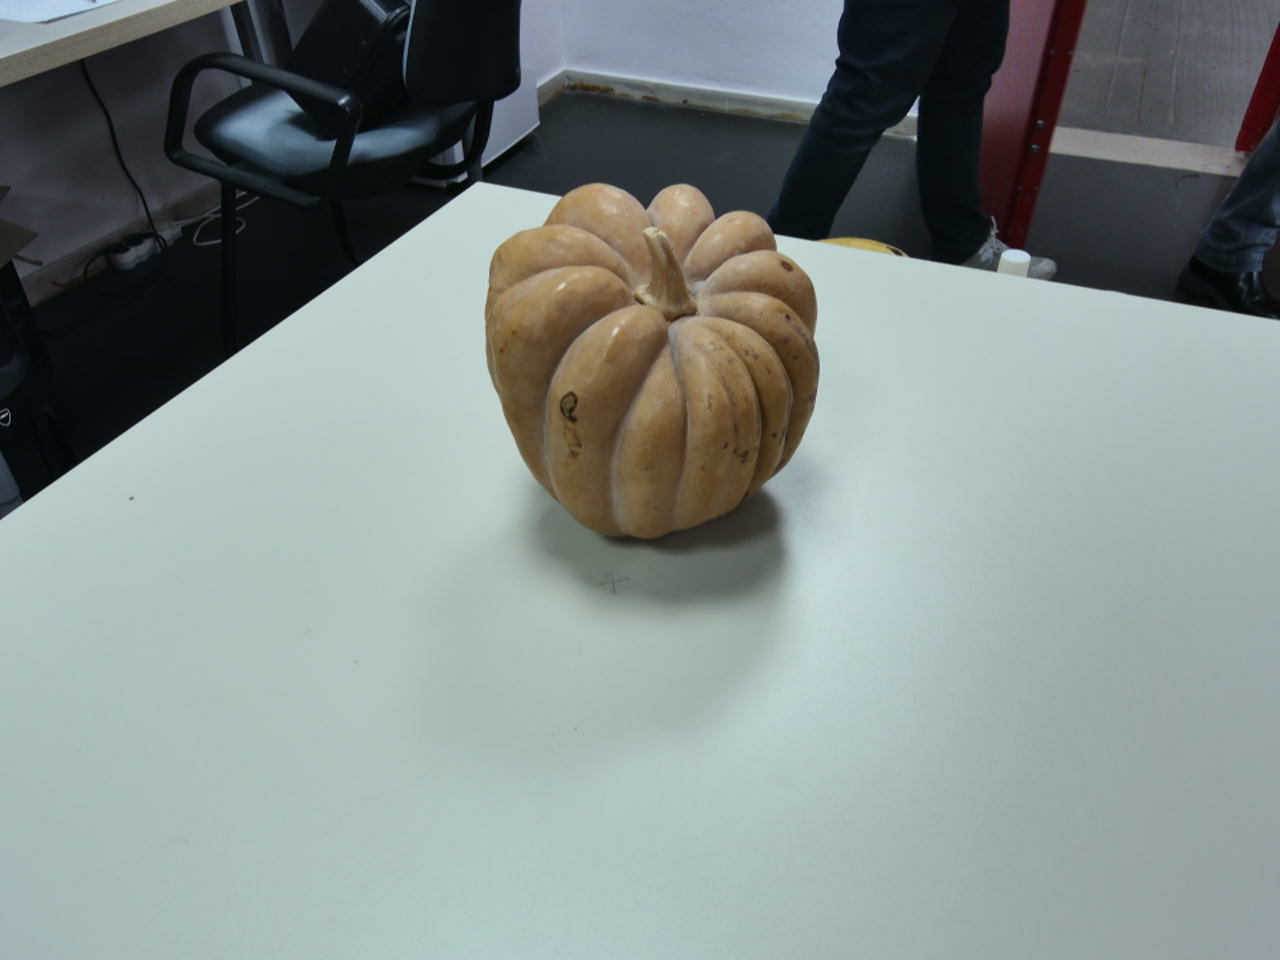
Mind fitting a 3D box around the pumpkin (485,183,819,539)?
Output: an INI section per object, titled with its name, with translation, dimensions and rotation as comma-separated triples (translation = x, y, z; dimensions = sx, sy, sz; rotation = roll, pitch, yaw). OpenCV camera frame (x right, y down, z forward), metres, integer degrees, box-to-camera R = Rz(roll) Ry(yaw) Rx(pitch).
[pumpkin]
translation = 0.005, -0.066, 0.568
dimensions = 0.199, 0.177, 0.198
rotation = 0, 38, 0
